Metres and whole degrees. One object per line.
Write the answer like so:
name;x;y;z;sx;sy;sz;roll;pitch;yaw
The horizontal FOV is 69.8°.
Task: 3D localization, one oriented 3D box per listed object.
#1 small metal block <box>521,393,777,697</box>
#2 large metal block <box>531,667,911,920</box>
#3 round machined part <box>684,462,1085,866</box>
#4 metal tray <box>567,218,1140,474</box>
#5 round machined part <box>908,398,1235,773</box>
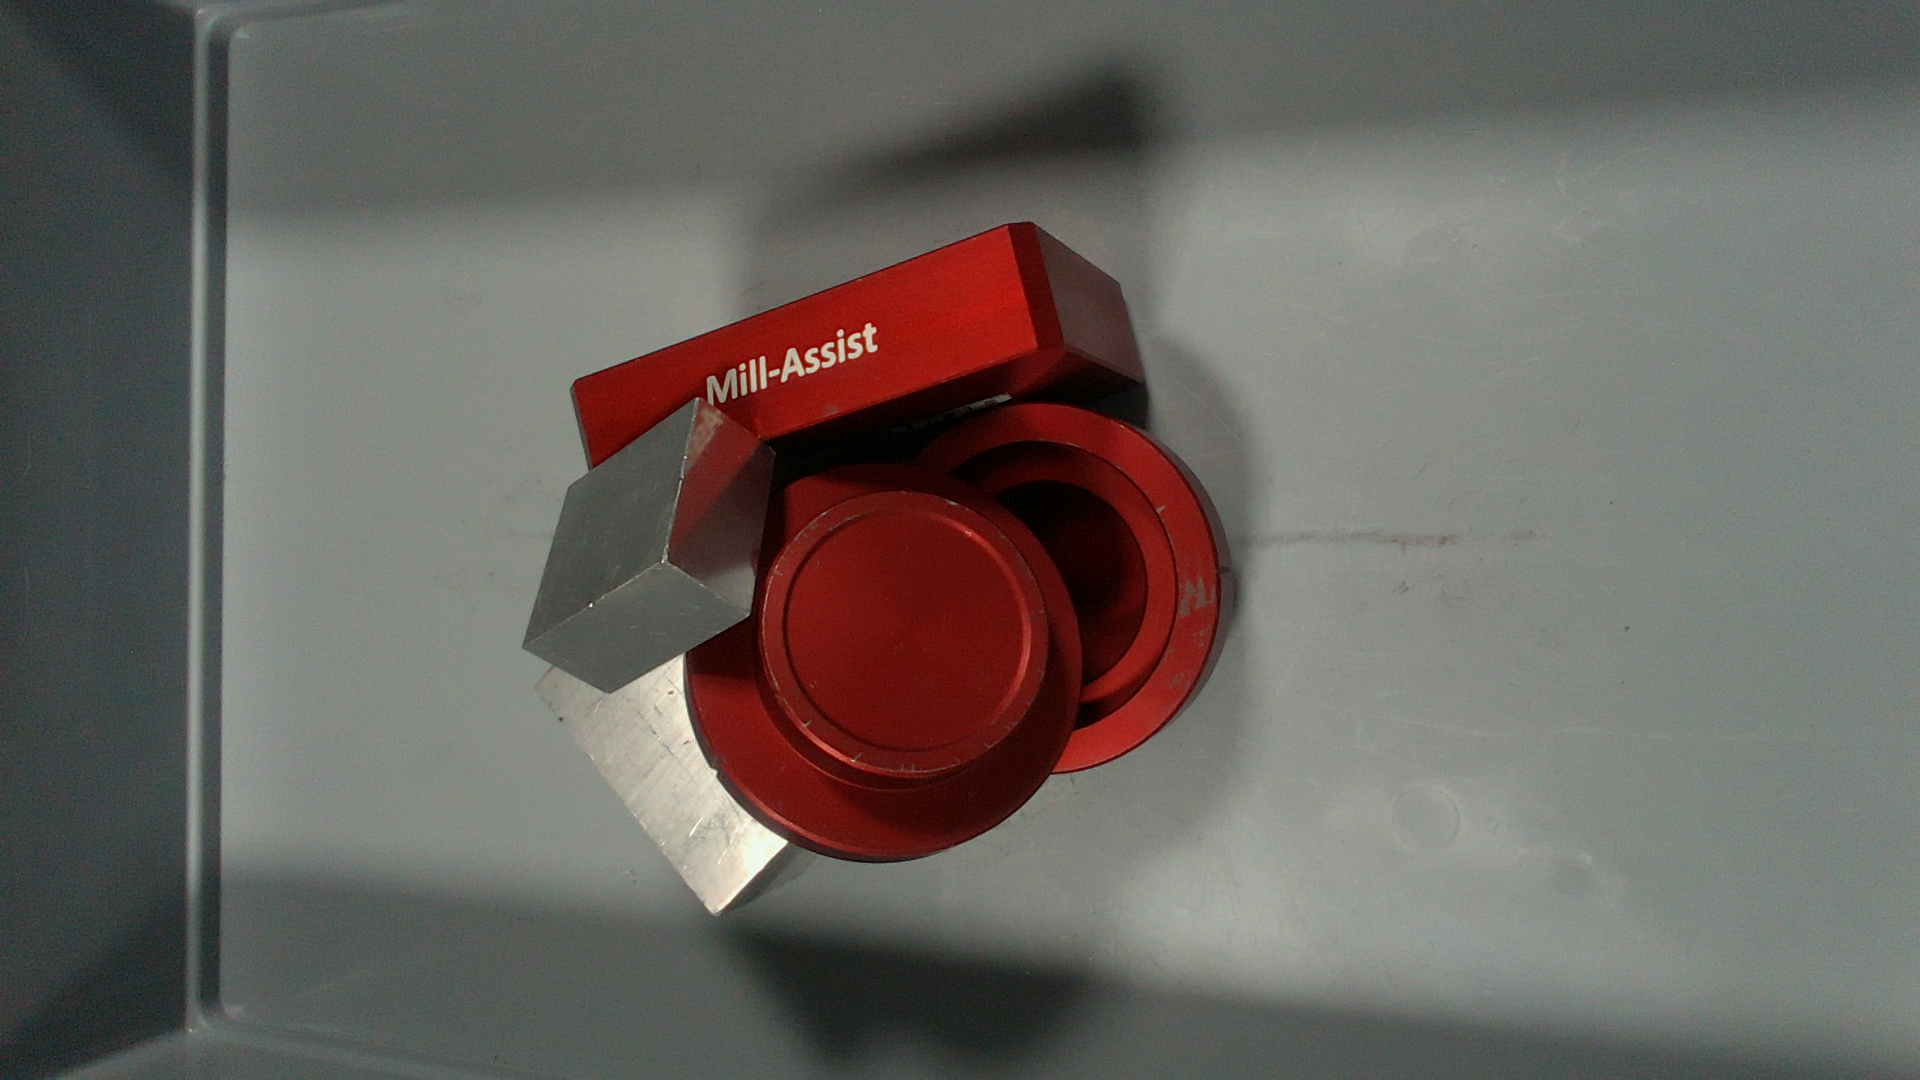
small metal block;-0.072;0.002;0.322;0.050;0.025;0.050;-28;42;31
large metal block;-0.057;0.049;0.386;0.050;0.080;0.080;-46;76;14
round machined part;-0.016;0.027;0.330;0.098;0.042;0.098;5;71;-13
metal tray;-0.025;-0.042;0.368;0.130;0.090;0.030;-16;85;19
round machined part;0.027;0.012;0.377;0.098;0.042;0.098;0;90;20
